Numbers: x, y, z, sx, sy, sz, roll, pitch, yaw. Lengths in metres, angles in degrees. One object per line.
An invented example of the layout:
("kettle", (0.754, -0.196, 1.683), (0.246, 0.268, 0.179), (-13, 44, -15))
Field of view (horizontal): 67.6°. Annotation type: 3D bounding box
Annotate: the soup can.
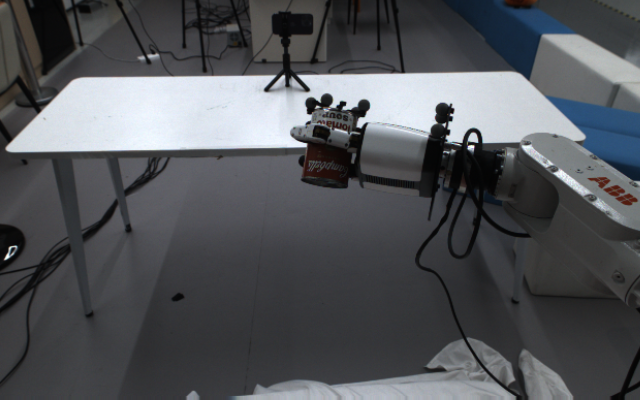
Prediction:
("soup can", (0.014, -0.072, 0.684), (0.067, 0.101, 0.067), (9, -6, 1))
